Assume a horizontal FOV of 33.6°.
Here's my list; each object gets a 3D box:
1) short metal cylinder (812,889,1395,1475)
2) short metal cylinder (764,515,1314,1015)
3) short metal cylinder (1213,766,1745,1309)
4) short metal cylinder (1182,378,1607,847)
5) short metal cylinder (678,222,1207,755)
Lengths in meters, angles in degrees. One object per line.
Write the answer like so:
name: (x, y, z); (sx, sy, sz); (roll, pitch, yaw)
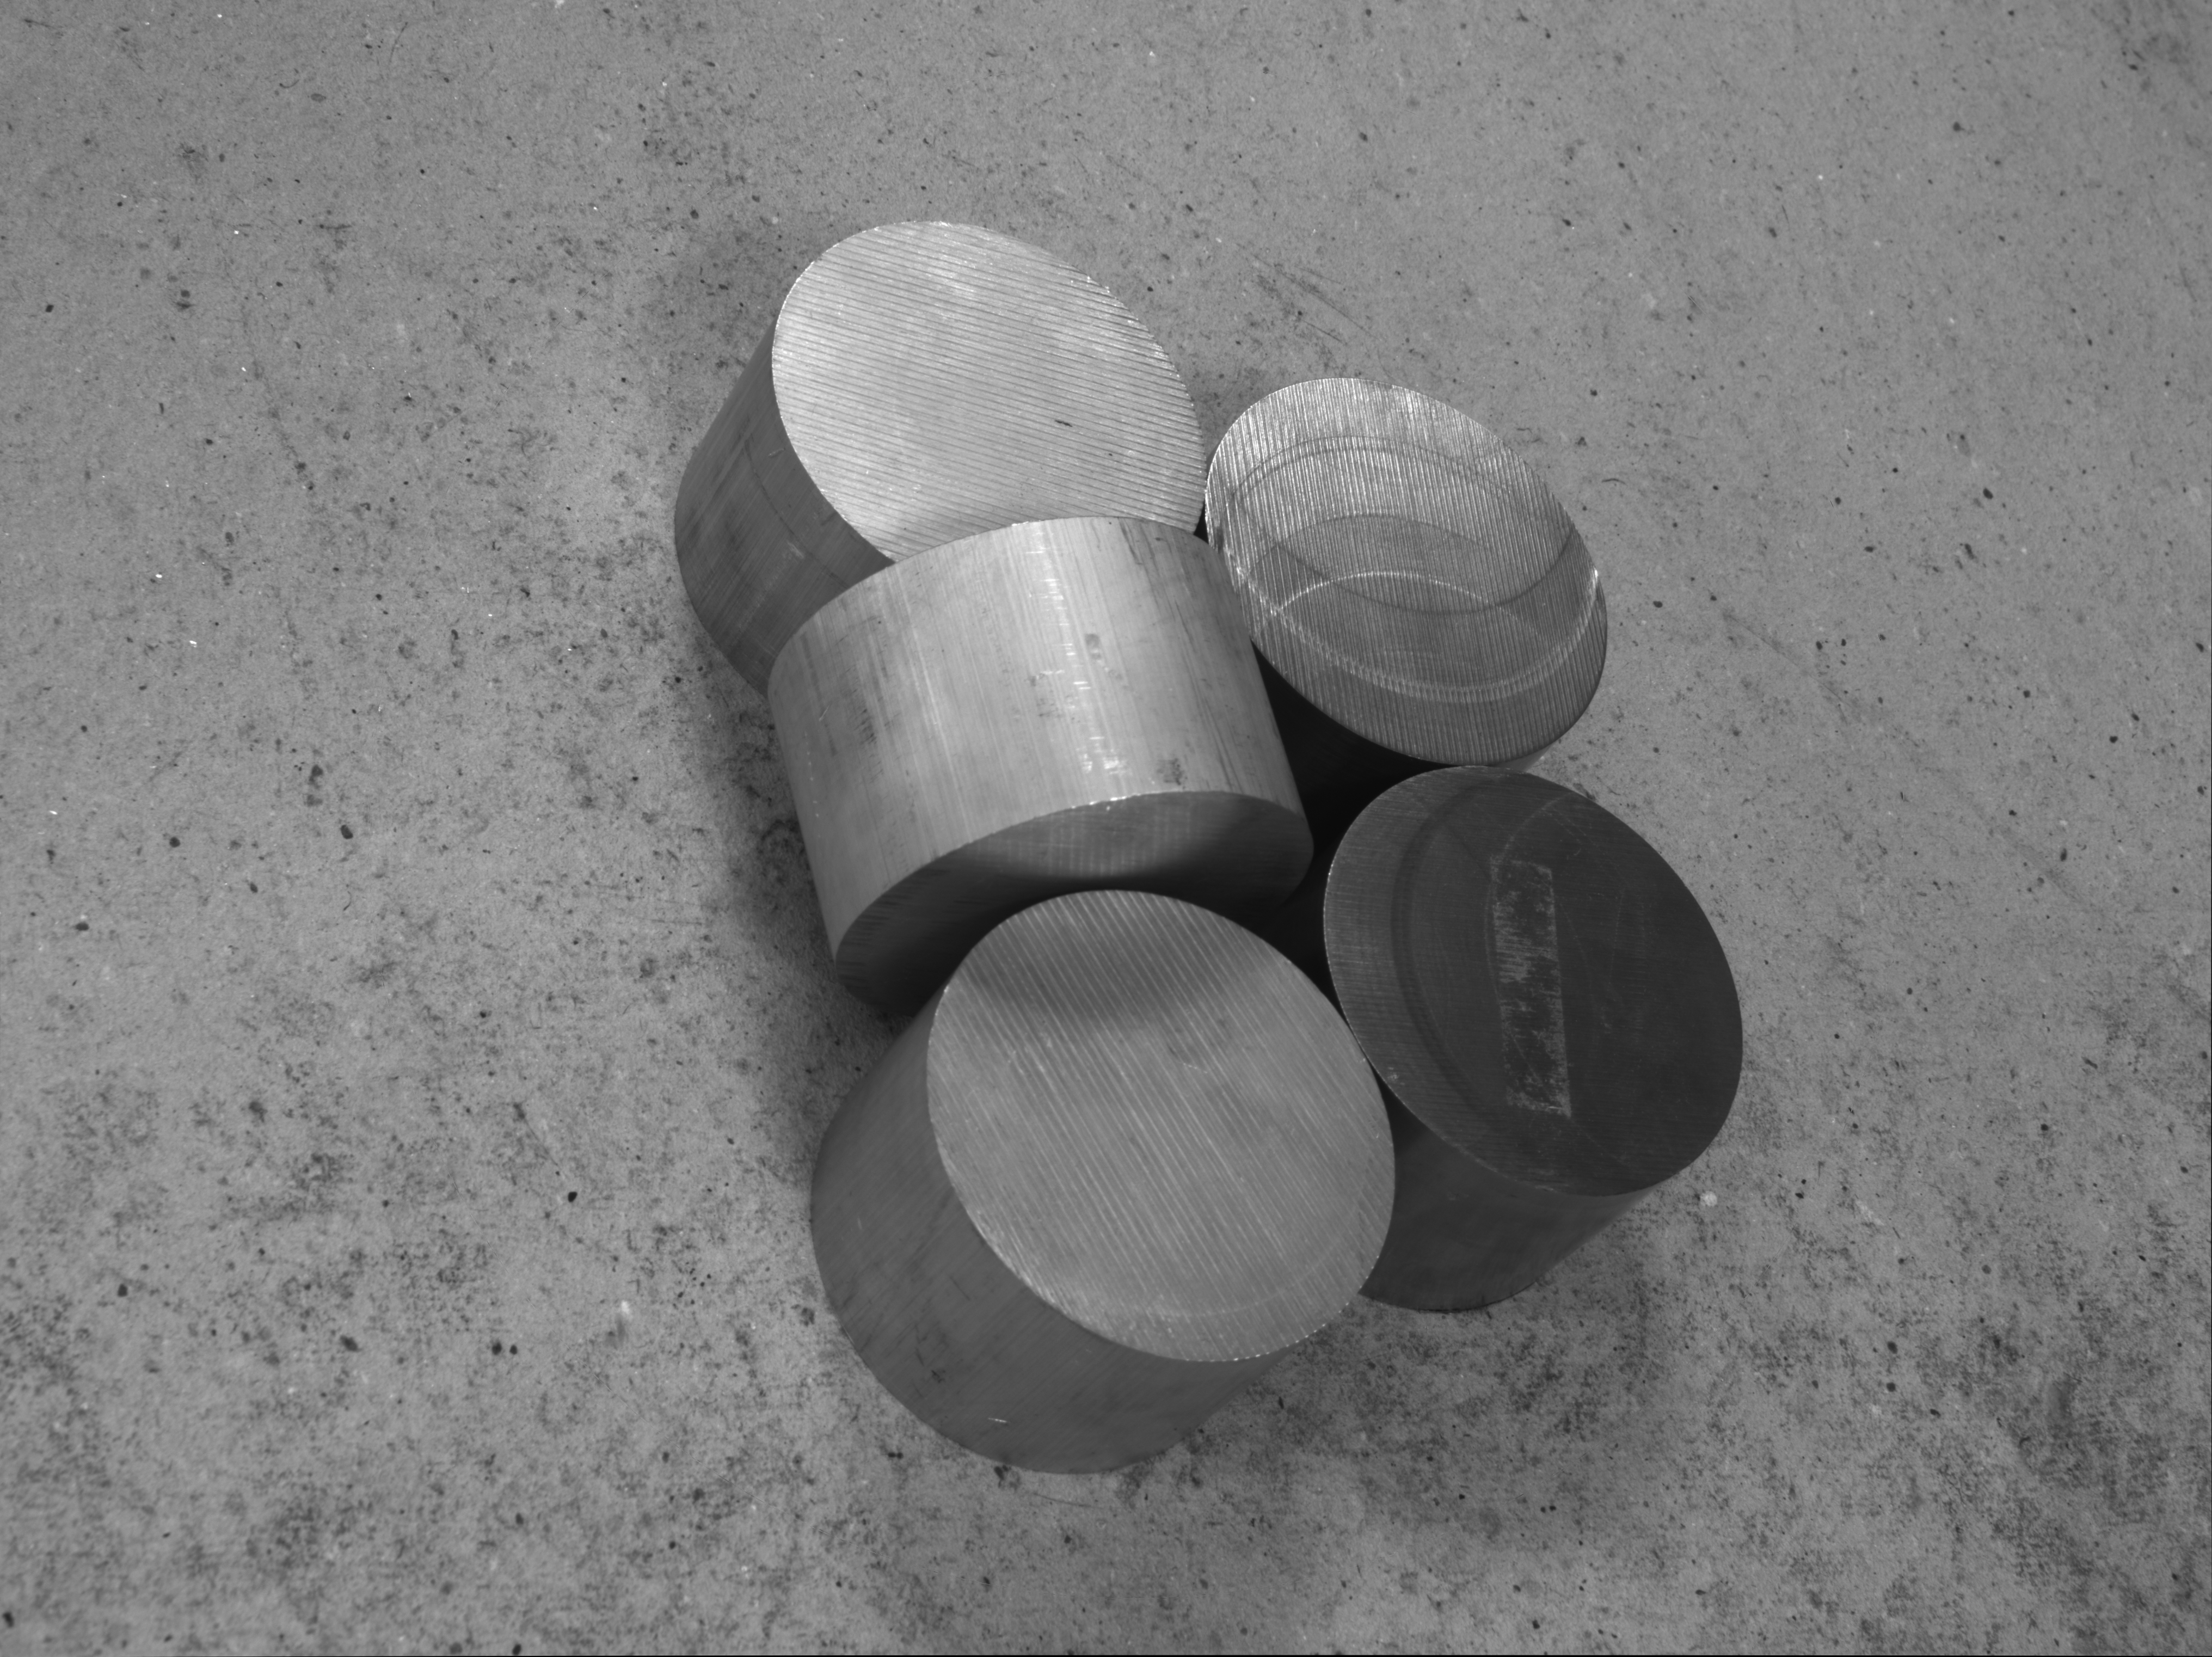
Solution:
short metal cylinder: (-0.001, 0.057, 0.587); (0.080, 0.050, 0.080); (13, 57, -20)
short metal cylinder: (-0.011, -0.009, 0.603); (0.080, 0.080, 0.050); (-3, 63, -29)
short metal cylinder: (0.062, 0.036, 0.633); (0.080, 0.050, 0.080); (13, 57, -20)
short metal cylinder: (0.044, -0.034, 0.667); (0.080, 0.050, 0.080); (13, 57, -21)
short metal cylinder: (-0.029, -0.059, 0.643); (0.080, 0.050, 0.080); (13, 57, -20)
